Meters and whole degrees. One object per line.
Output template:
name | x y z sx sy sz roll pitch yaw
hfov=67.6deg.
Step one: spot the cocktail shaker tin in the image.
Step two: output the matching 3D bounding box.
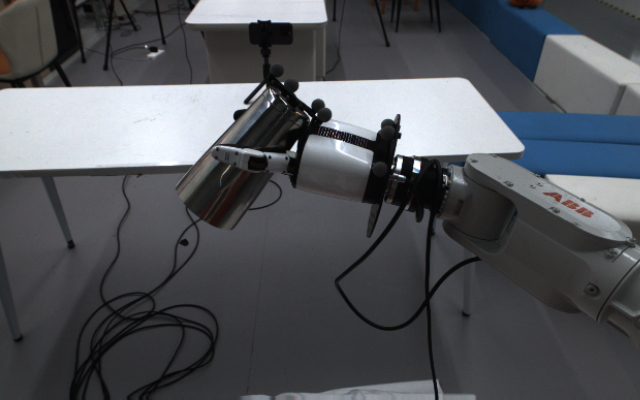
cocktail shaker tin | -0.091 -0.059 0.606 0.093 0.170 0.093 41 12 -11
